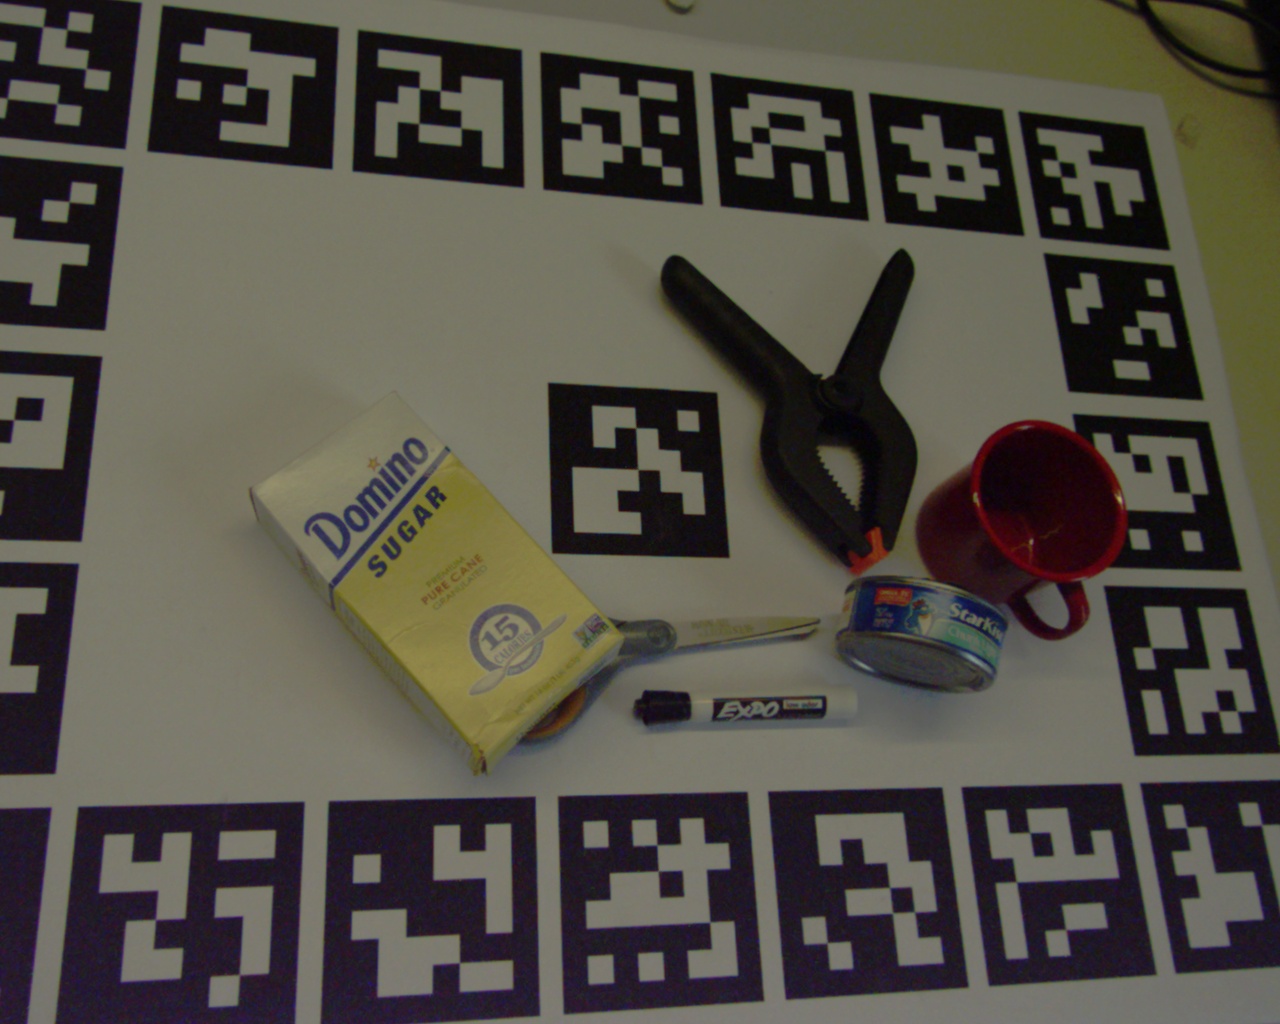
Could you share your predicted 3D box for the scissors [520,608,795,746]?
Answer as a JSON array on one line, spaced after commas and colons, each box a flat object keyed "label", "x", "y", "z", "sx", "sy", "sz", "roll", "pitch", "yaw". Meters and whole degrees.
[{"label": "scissors", "x": -0.005, "y": 0.072, "z": 0.639, "sx": 0.201, "sy": 0.016, "sz": 0.088, "roll": -9, "pitch": 71, "yaw": -18}]

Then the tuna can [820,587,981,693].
[{"label": "tuna can", "x": 0.146, "y": 0.074, "z": 0.642, "sx": 0.085, "sy": 0.086, "sz": 0.034, "roll": 18, "pitch": 69, "yaw": -8}]

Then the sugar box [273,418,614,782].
[{"label": "sugar box", "x": -0.105, "y": 0.043, "z": 0.606, "sx": 0.092, "sy": 0.045, "sz": 0.177, "roll": -37, "pitch": 78, "yaw": -22}]

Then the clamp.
[{"label": "clamp", "x": 0.099, "y": -0.055, "z": 0.710, "sx": 0.164, "sy": 0.037, "sz": 0.203, "roll": -9, "pitch": 76, "yaw": -17}]

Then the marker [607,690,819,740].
[{"label": "marker", "x": 0.041, "y": 0.114, "z": 0.639, "sx": 0.120, "sy": 0.020, "sz": 0.020, "roll": -2, "pitch": 74, "yaw": -14}]

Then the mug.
[{"label": "mug", "x": 0.199, "y": 0.026, "z": 0.676, "sx": 0.092, "sy": 0.082, "sz": 0.118, "roll": -26, "pitch": 77, "yaw": -21}]
